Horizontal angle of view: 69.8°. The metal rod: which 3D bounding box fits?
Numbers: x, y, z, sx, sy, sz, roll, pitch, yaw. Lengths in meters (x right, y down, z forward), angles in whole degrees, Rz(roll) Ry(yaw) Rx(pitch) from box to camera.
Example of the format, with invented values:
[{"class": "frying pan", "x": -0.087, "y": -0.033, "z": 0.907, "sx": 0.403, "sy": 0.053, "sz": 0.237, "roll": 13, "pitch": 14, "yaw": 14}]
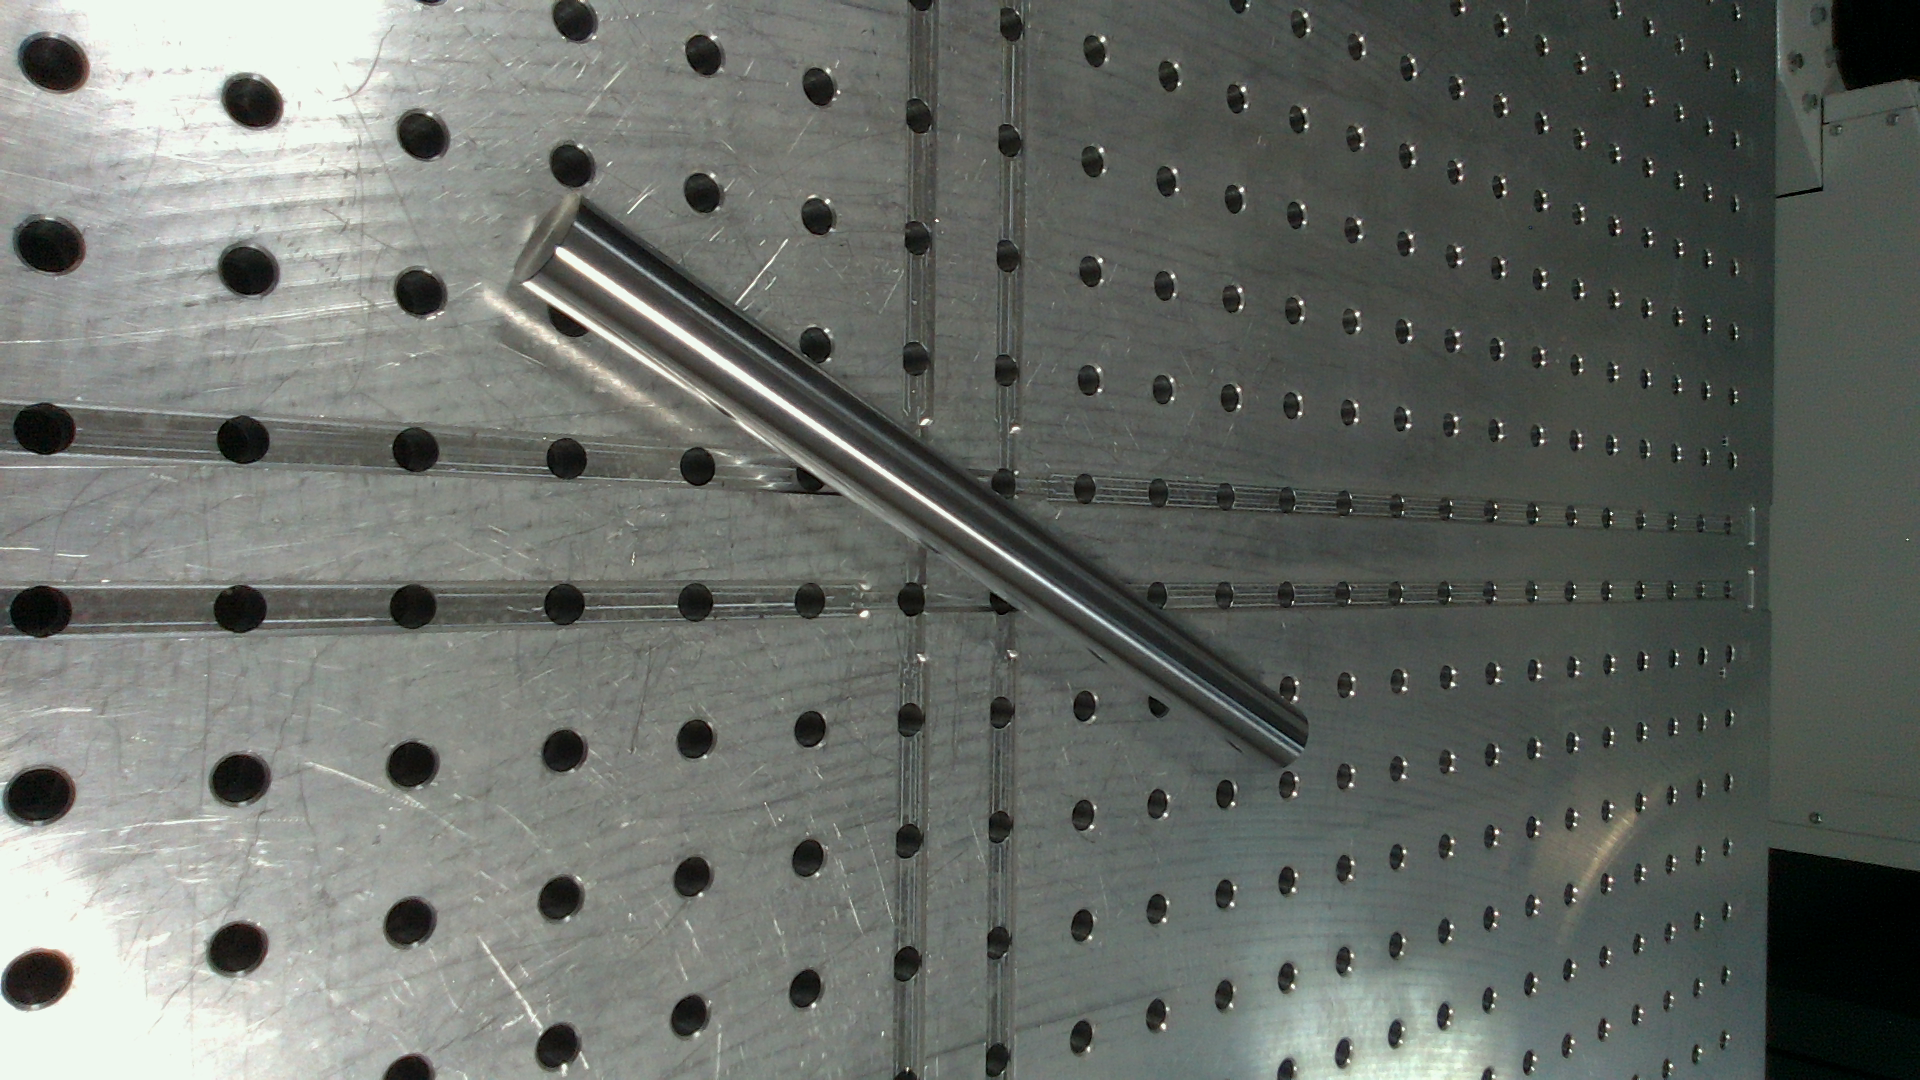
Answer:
[{"class": "metal rod", "x": 0.009, "y": 0.000, "z": 0.399, "sx": 0.301, "sy": 0.025, "sz": 0.025, "roll": 34, "pitch": 69, "yaw": -35}]
